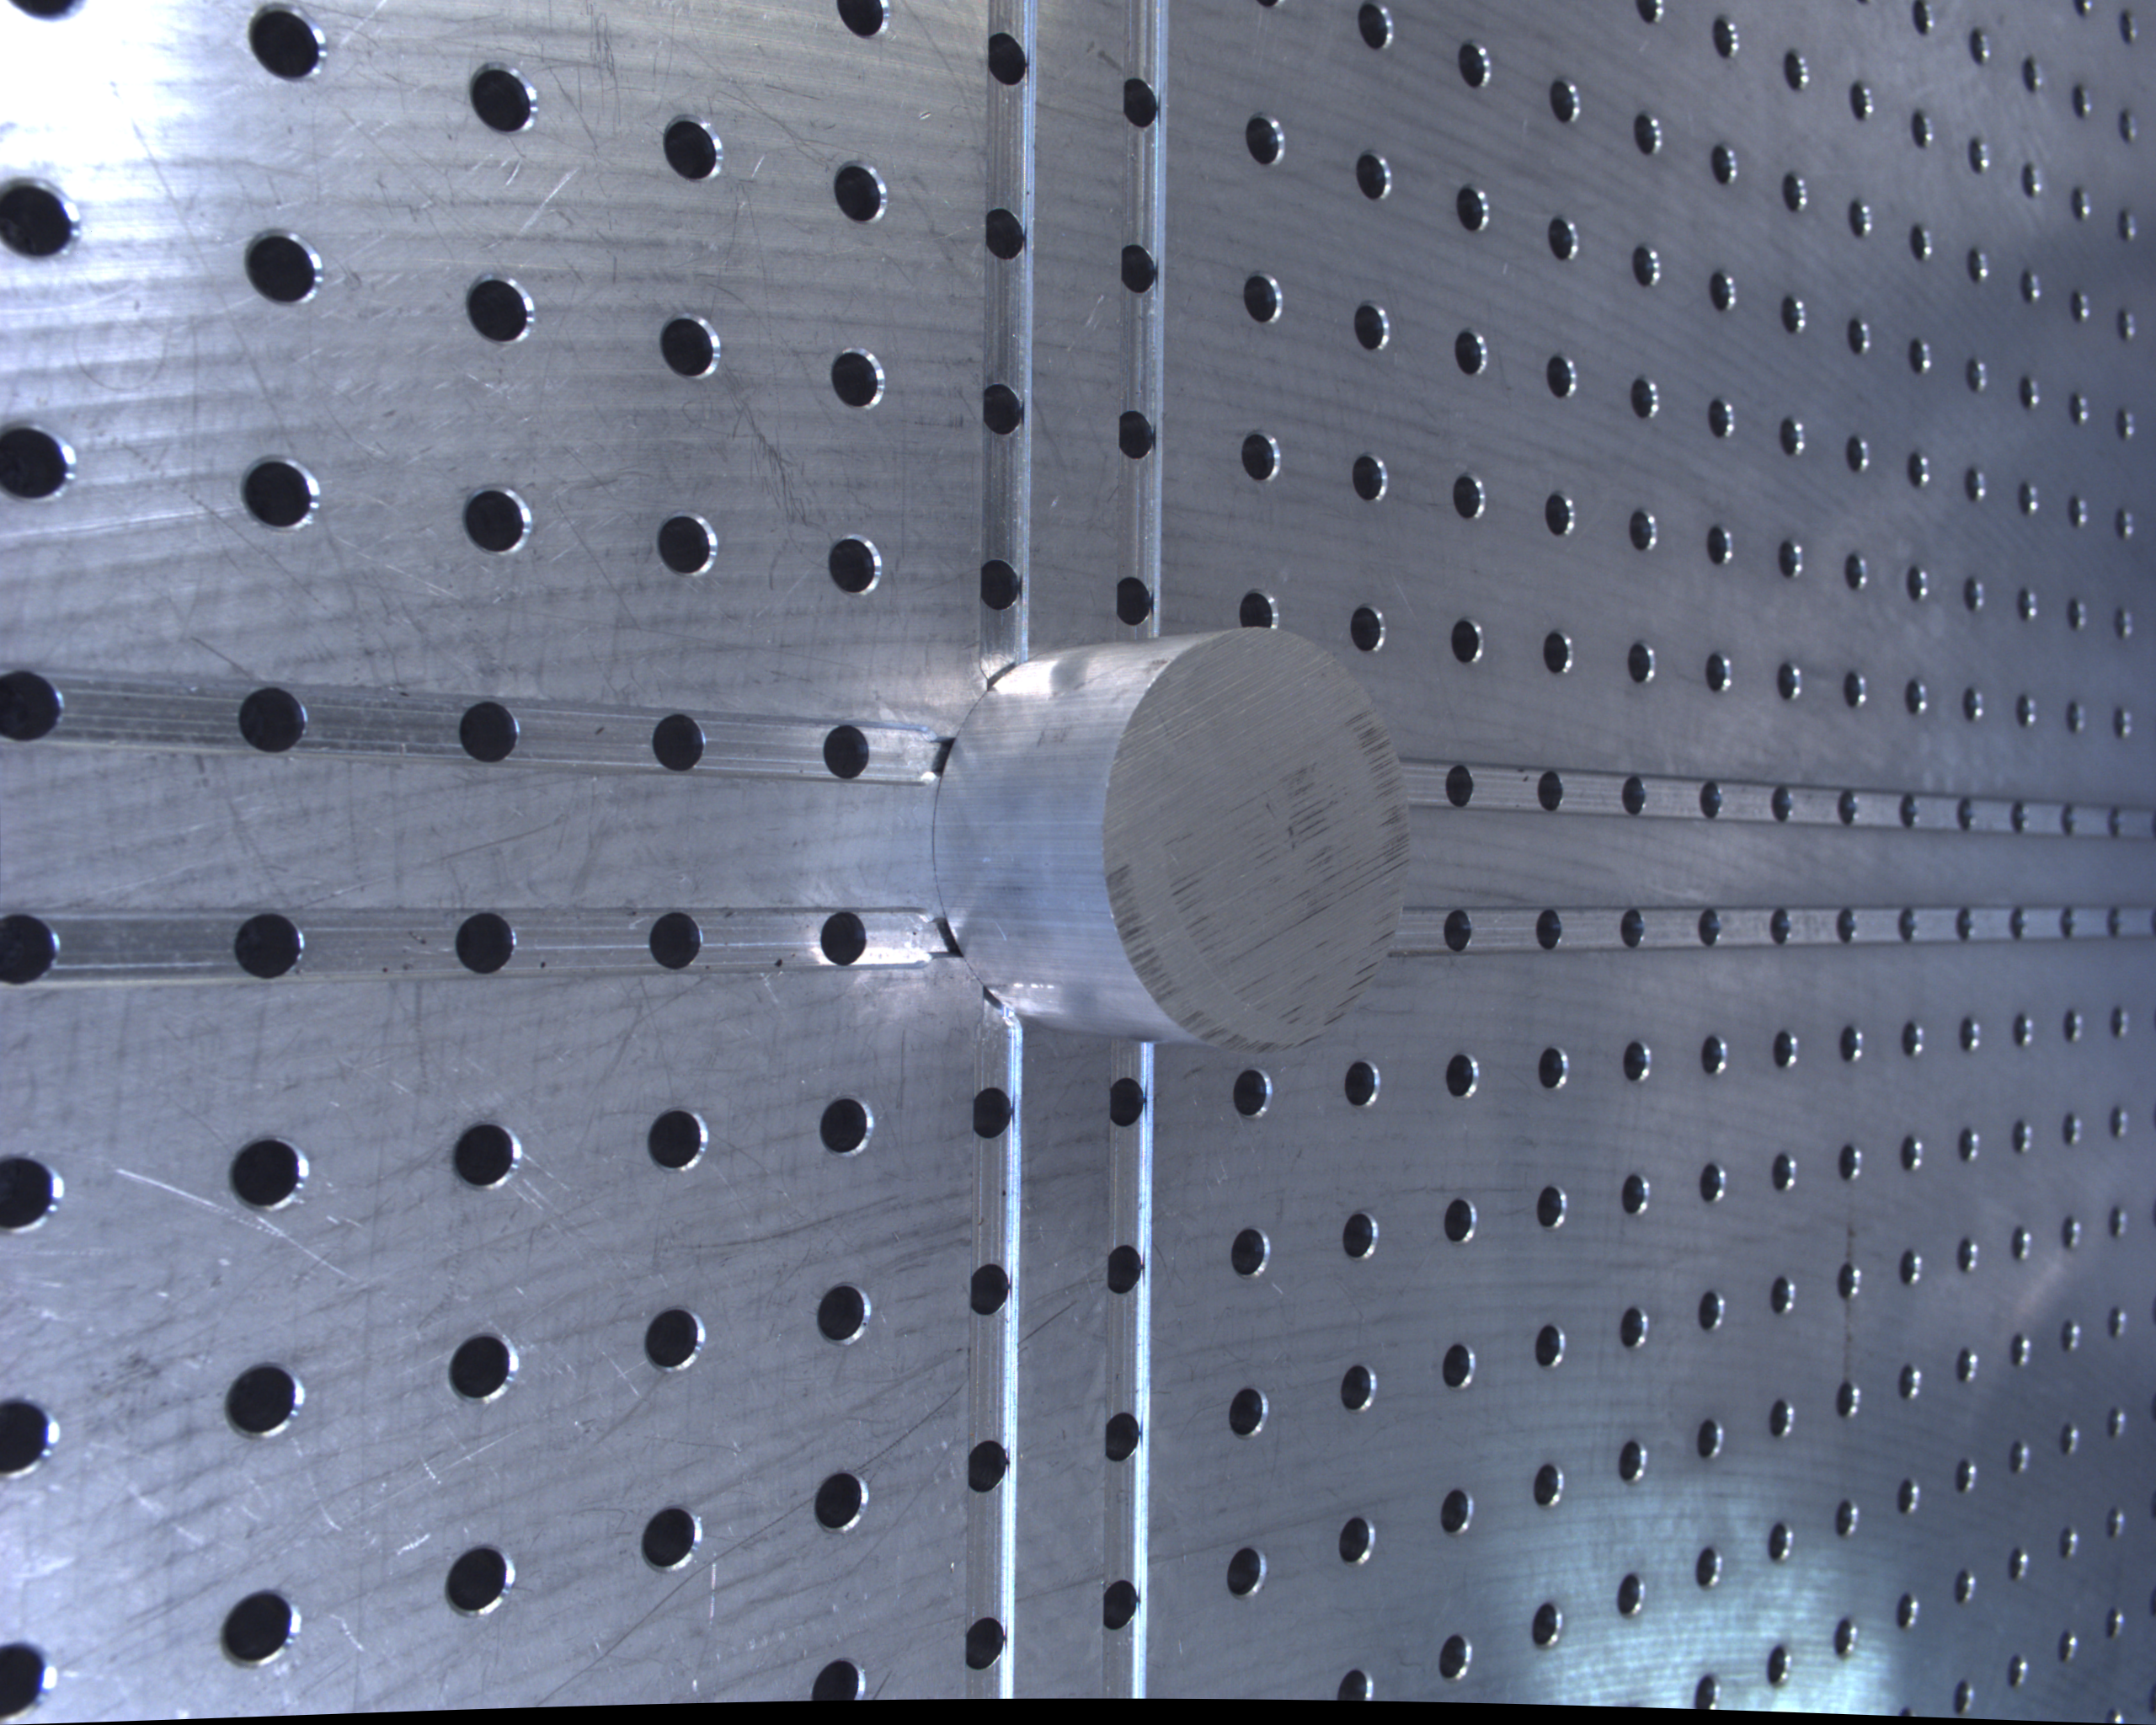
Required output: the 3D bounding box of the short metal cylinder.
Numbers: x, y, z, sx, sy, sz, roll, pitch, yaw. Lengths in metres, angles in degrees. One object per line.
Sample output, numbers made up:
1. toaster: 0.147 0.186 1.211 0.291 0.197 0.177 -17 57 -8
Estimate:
1. short metal cylinder: 0.019 -0.004 0.407 0.081 0.050 0.080 0 90 -40
